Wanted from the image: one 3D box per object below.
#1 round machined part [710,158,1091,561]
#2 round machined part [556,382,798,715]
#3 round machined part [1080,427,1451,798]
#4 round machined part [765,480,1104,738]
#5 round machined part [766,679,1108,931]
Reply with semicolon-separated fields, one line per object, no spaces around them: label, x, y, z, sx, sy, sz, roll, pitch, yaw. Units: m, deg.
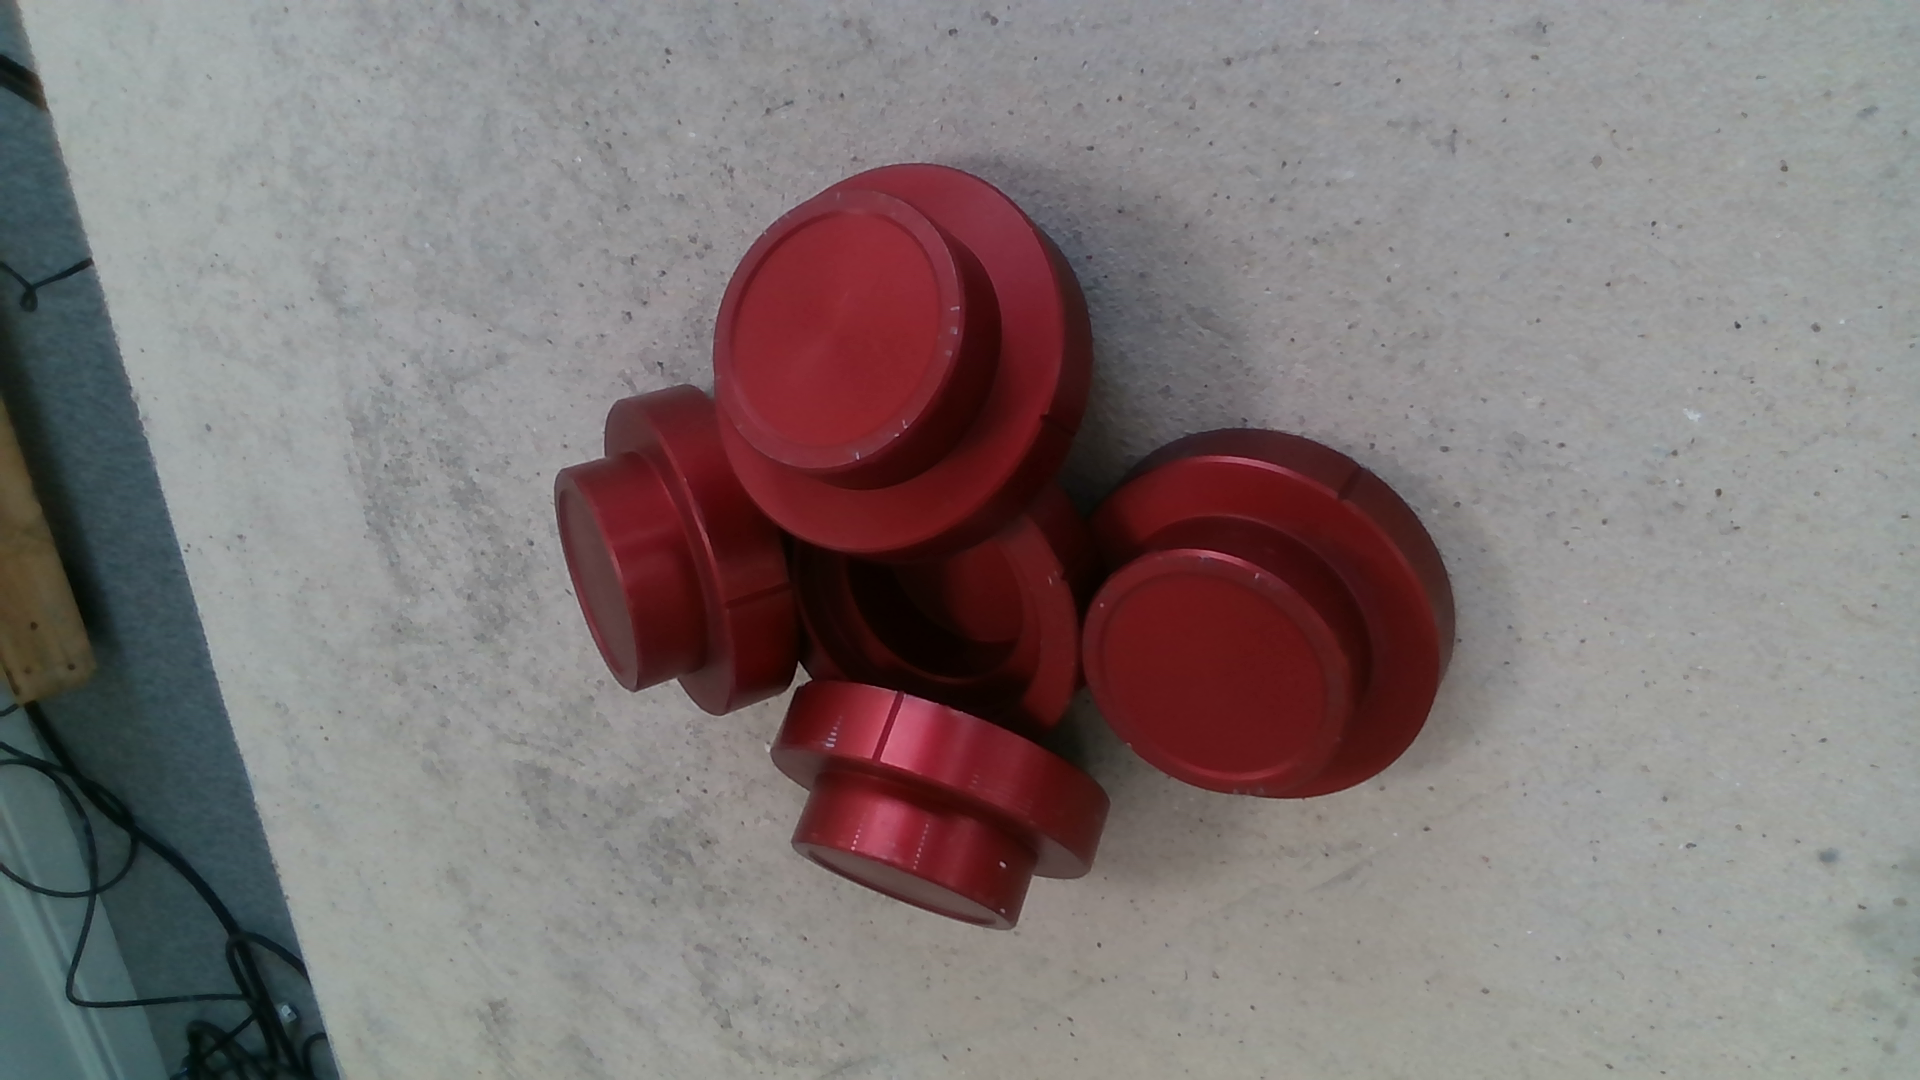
round machined part;-0.021;-0.046;0.335;0.098;0.042;0.098;-5;80;27
round machined part;-0.088;0.006;0.408;0.098;0.042;0.098;42;141;46
round machined part;0.070;0.025;0.348;0.098;0.042;0.098;13;121;23
round machined part;-0.003;0.010;0.386;0.098;0.042;0.098;13;119;24
round machined part;-0.010;0.080;0.395;0.098;0.042;0.098;18;158;7
